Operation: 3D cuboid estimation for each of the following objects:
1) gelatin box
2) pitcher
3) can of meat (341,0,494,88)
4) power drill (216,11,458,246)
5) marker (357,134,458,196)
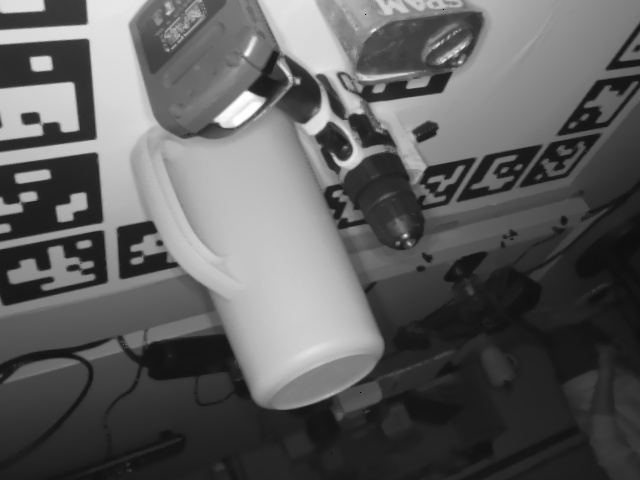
[{"bbox_3d":[0.065,-0.086,0.677,0.091,0.073,0.030,-3,139,-31],"label":"gelatin box"},{"bbox_3d":[-0.038,0.005,0.583,0.131,0.242,0.191,-45,152,24],"label":"pitcher"},{"bbox_3d":[0.076,-0.170,0.537,0.103,0.084,0.057,-12,149,-22],"label":"can of meat"},{"bbox_3d":[0.019,-0.083,0.535,0.056,0.184,0.189,-43,140,23],"label":"power drill"},{"bbox_3d":[0.095,-0.083,0.753,0.121,0.019,0.019,-27,150,-2],"label":"marker"}]
